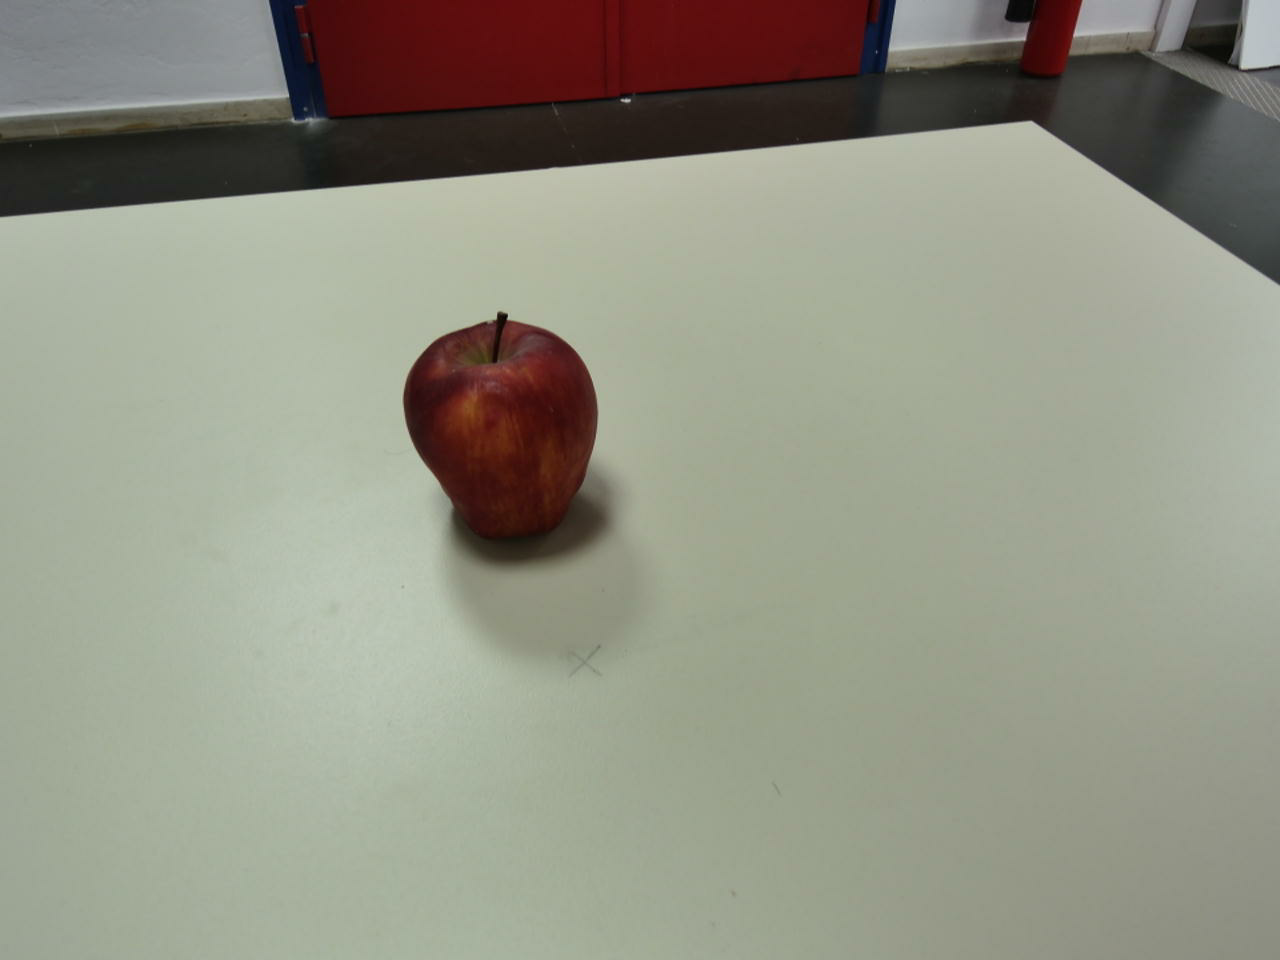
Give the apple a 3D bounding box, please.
[{"bbox_3d":[-0.056,-0.026,0.406,0.083,0.090,0.083,0,38,0],"label":"apple"}]
